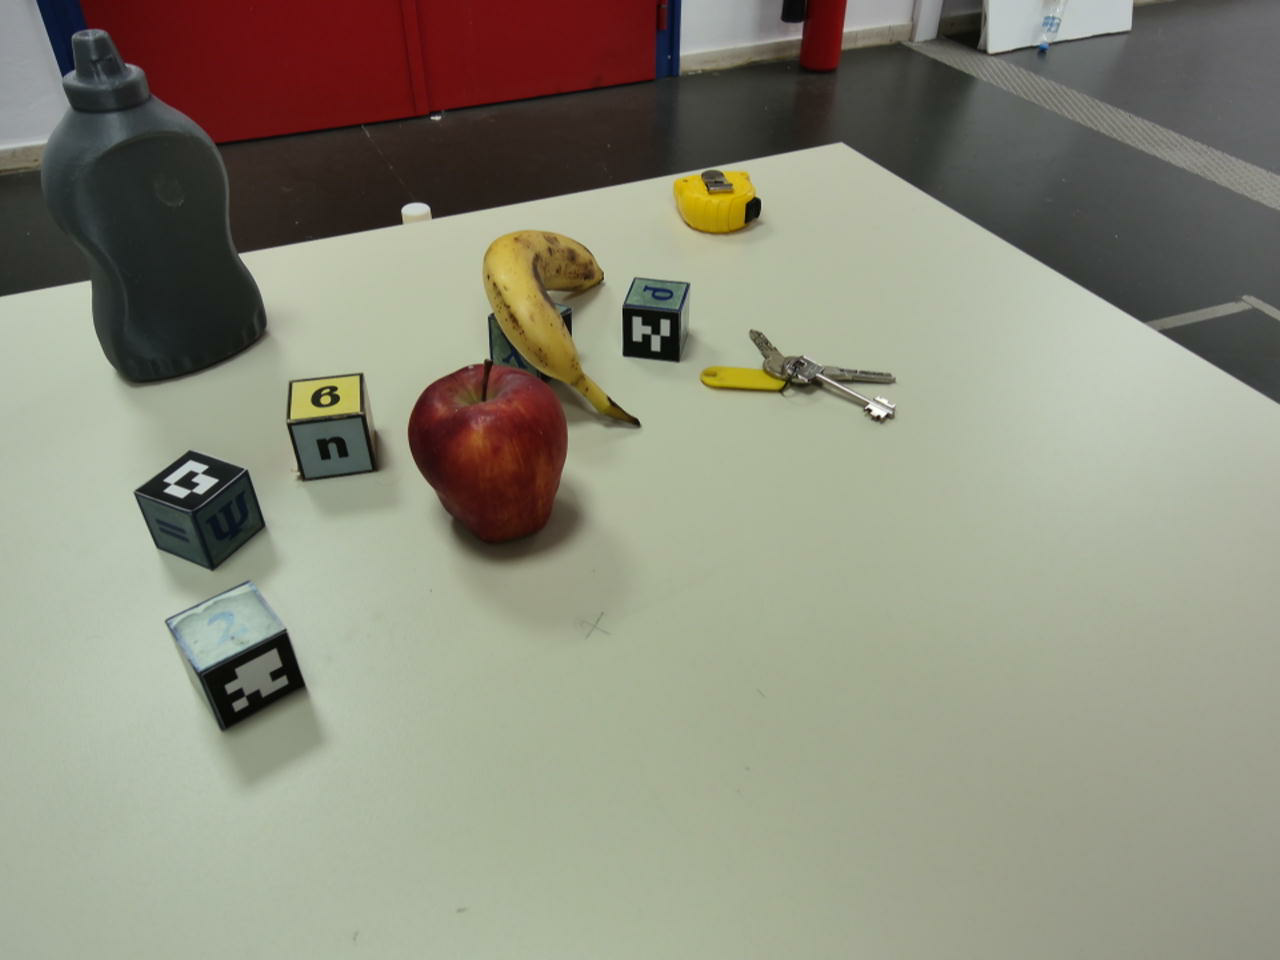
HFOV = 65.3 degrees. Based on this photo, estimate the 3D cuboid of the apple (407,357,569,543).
[{"bbox_3d":[-0.074,-0.018,0.493,0.083,0.090,0.083,0,38,0],"label":"apple"}]
